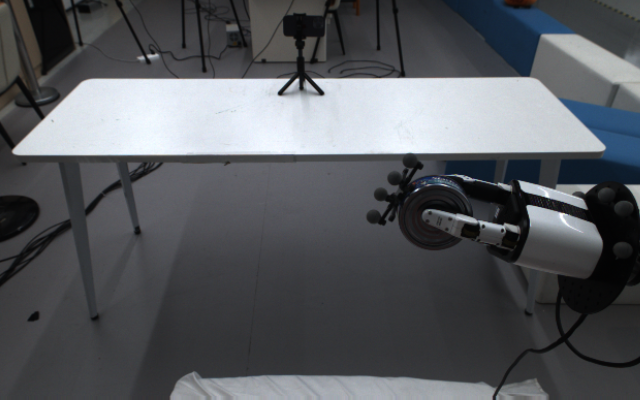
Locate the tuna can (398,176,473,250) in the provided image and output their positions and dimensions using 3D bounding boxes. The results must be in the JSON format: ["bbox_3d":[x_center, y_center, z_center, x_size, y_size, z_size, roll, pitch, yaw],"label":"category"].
[{"bbox_3d":[0.137,0.012,0.573,0.085,0.085,0.034,3,20,1],"label":"tuna can"}]
